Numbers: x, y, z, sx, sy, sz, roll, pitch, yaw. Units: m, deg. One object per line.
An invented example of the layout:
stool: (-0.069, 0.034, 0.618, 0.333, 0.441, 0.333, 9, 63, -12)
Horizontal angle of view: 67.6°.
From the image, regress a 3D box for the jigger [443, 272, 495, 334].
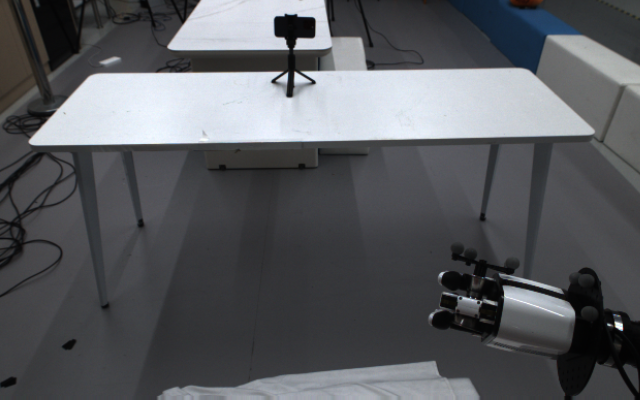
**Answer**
jigger: (0.204, 0.134, 0.639, 0.043, 0.071, 0.043, 16, -7, 2)
